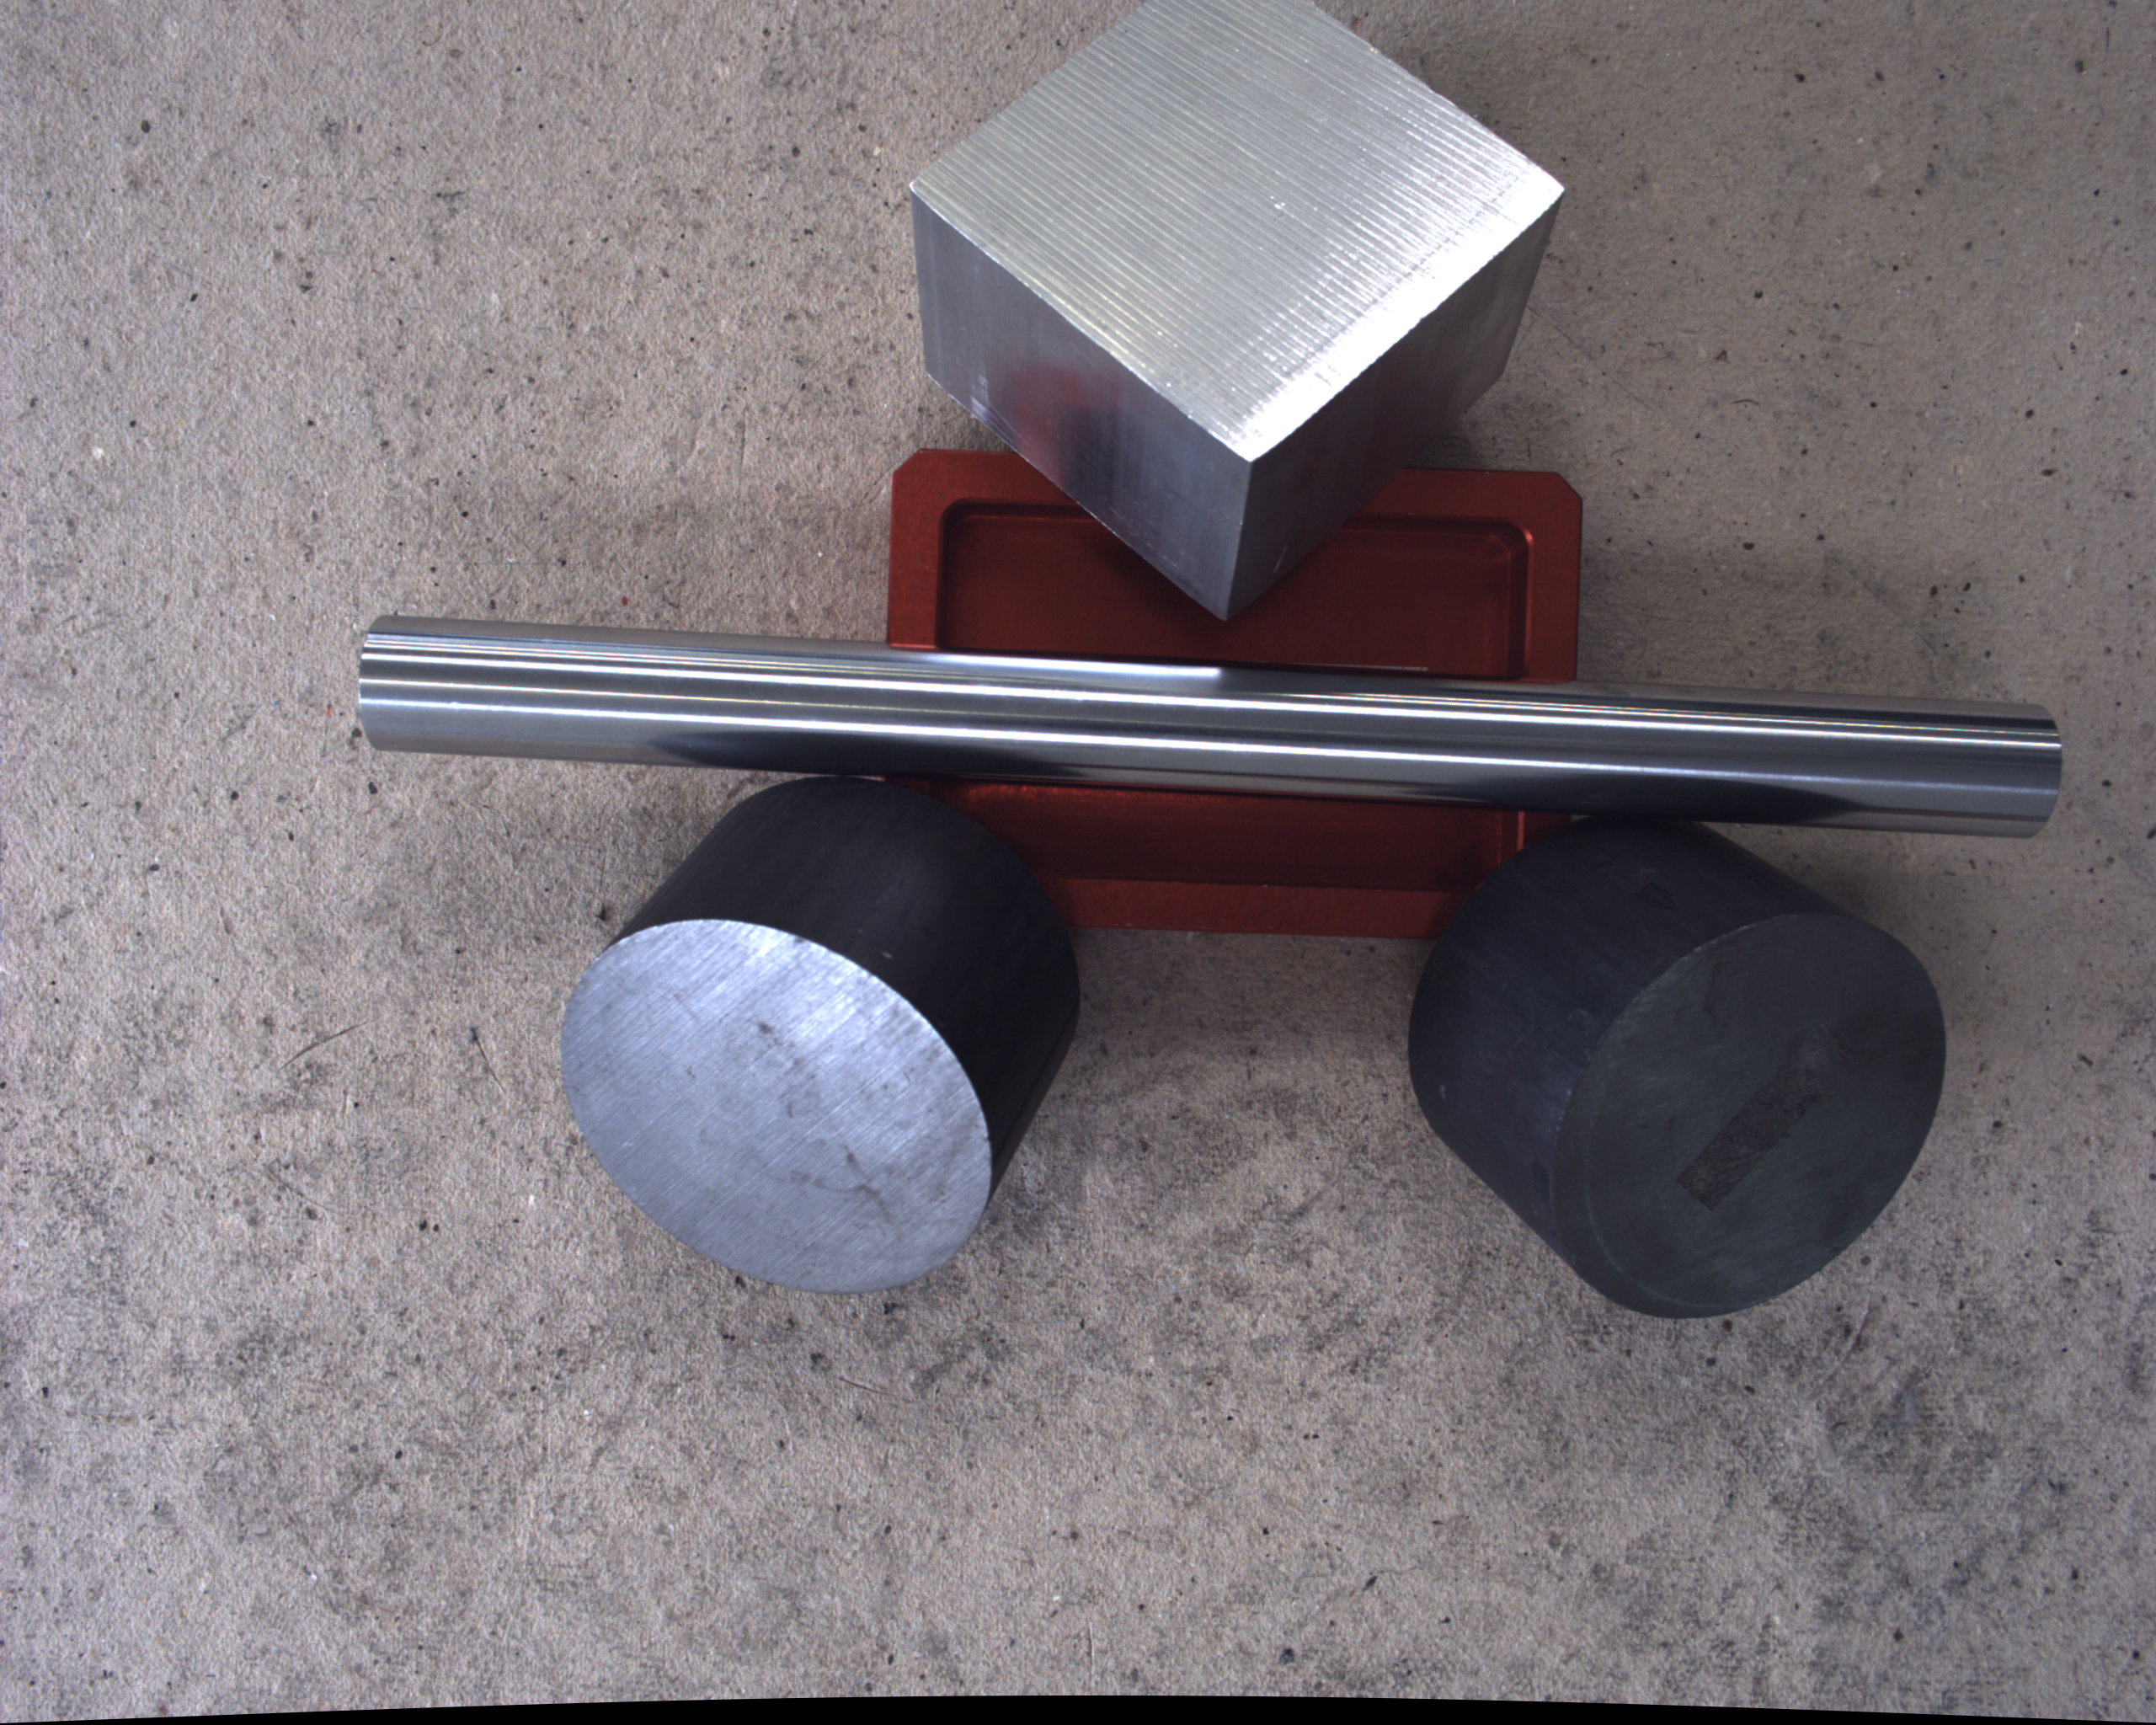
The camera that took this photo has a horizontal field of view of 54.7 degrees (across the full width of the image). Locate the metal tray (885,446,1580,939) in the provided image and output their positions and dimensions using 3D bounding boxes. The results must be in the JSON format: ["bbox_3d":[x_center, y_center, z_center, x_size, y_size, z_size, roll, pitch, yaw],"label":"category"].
[{"bbox_3d":[0.029,-0.032,0.409,0.131,0.030,0.089,2,90,0],"label":"metal tray"}]

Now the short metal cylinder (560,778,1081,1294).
[{"bbox_3d":[-0.045,0.031,0.380,0.080,0.050,0.079,9,123,15],"label":"short metal cylinder"}]

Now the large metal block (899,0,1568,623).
[{"bbox_3d":[0.026,-0.105,0.377,0.080,0.050,0.080,42,73,15],"label":"large metal block"}]

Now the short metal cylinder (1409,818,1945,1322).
[{"bbox_3d":[0.109,0.036,0.383,0.081,0.050,0.079,-8,114,-18],"label":"short metal cylinder"}]

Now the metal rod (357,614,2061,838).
[{"bbox_3d":[0.024,-0.025,0.381,0.302,0.025,0.025,3,90,-1],"label":"metal rod"}]
